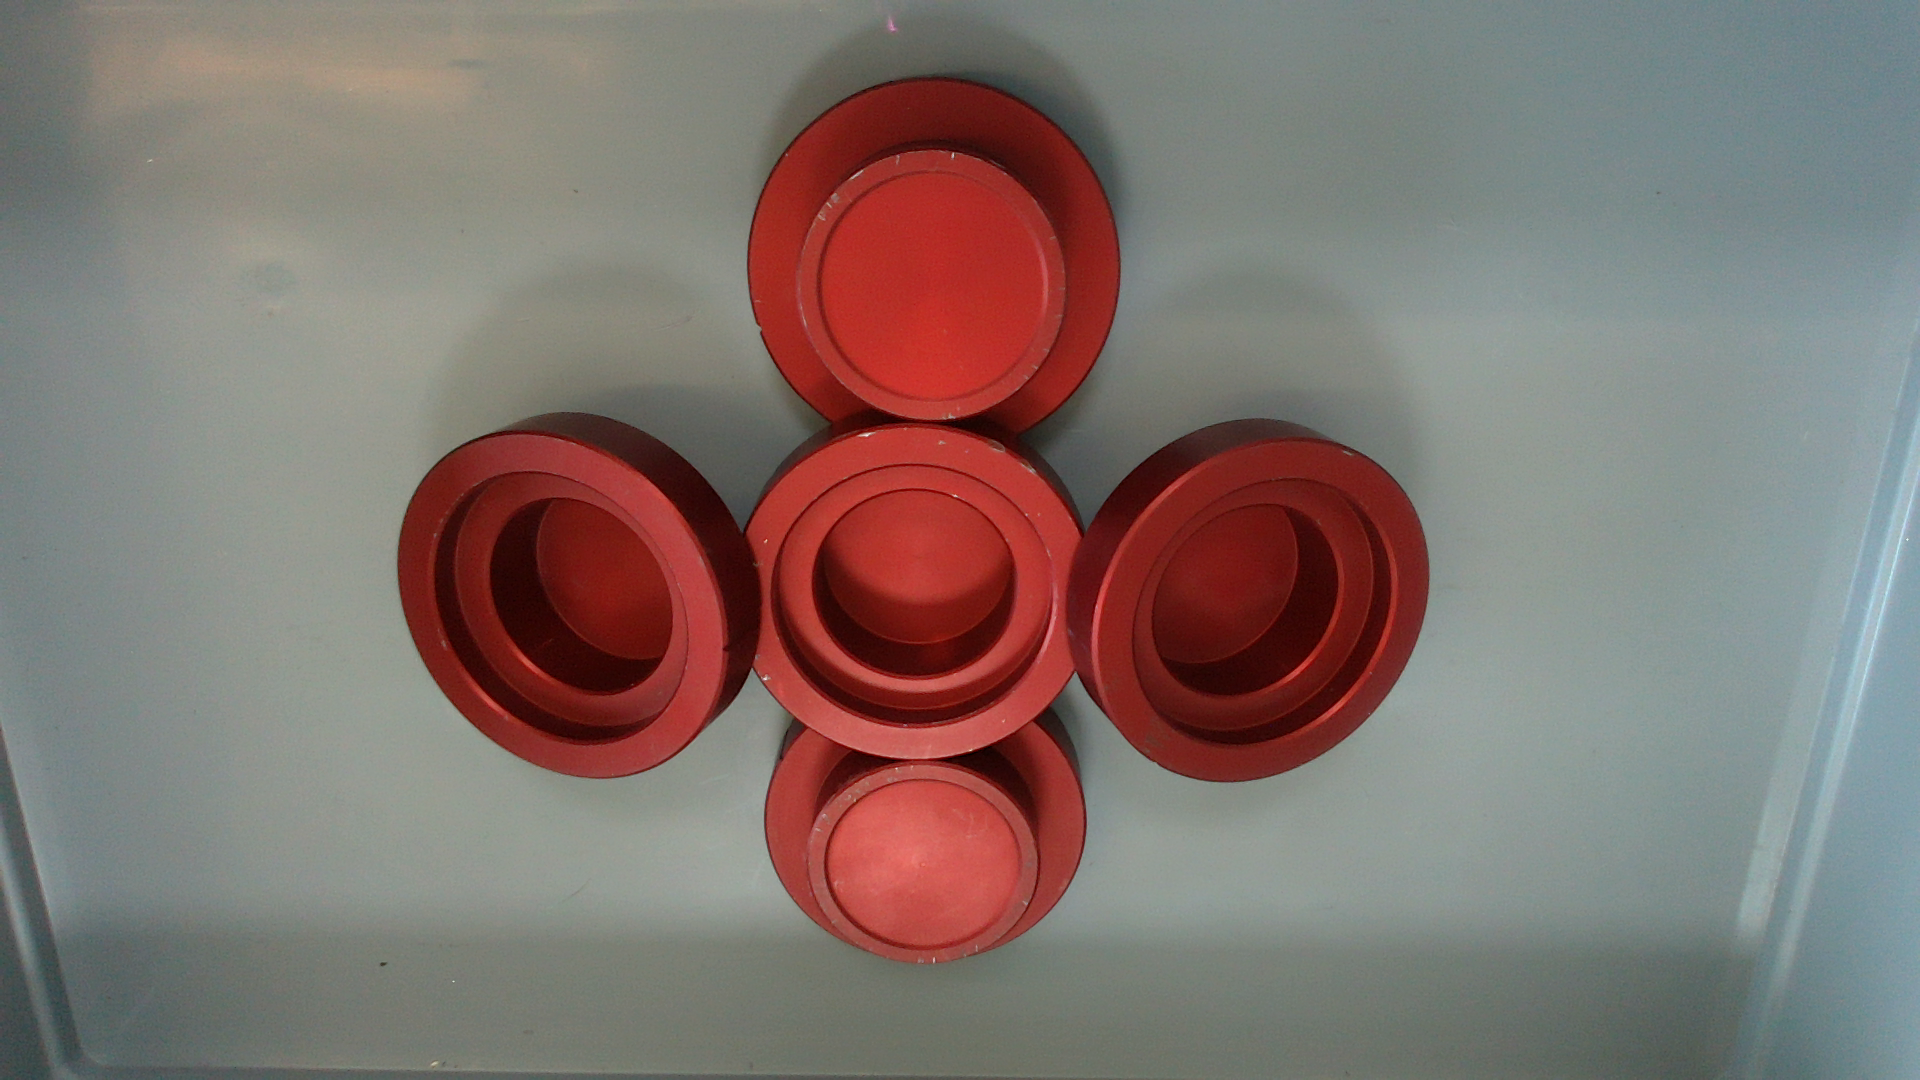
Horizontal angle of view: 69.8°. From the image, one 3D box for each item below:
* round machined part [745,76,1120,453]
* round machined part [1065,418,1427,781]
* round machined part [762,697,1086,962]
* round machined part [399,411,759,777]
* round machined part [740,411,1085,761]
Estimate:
[{"bbox_3d":[-0.007,-0.069,0.358,0.098,0.042,0.098,0,110,0],"label":"round machined part"},{"bbox_3d":[0.075,0.013,0.380,0.098,0.042,0.098,-6,111,-16],"label":"round machined part"},{"bbox_3d":[-0.011,0.087,0.415,0.098,0.042,0.098,0,110,0],"label":"round machined part"},{"bbox_3d":[-0.100,0.012,0.379,0.098,0.042,0.098,6,111,16],"label":"round machined part"},{"bbox_3d":[-0.012,0.009,0.386,0.098,0.042,0.098,0,110,0],"label":"round machined part"}]
